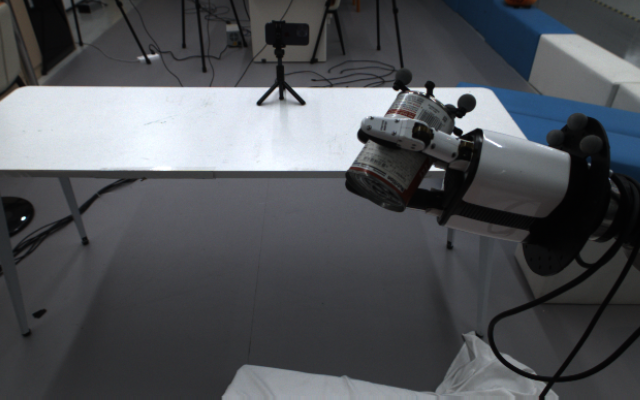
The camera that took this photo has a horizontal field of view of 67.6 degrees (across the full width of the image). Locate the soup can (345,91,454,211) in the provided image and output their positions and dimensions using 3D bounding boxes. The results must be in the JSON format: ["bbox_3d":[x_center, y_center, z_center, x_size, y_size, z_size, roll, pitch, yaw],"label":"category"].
[{"bbox_3d":[0.081,-0.051,0.482,0.067,0.067,0.101,27,76,31],"label":"soup can"}]
